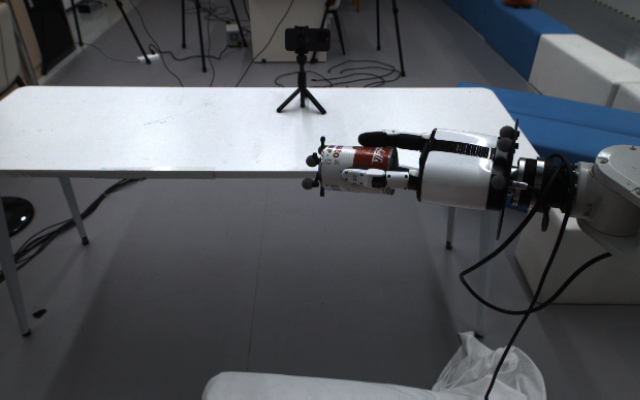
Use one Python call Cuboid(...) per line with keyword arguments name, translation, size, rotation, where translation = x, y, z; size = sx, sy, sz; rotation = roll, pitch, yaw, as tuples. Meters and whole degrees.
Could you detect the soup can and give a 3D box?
Cuboid(name="soup can", translation=(0.058, -0.045, 0.697), size=(0.101, 0.067, 0.067), rotation=(4, 34, 18))
